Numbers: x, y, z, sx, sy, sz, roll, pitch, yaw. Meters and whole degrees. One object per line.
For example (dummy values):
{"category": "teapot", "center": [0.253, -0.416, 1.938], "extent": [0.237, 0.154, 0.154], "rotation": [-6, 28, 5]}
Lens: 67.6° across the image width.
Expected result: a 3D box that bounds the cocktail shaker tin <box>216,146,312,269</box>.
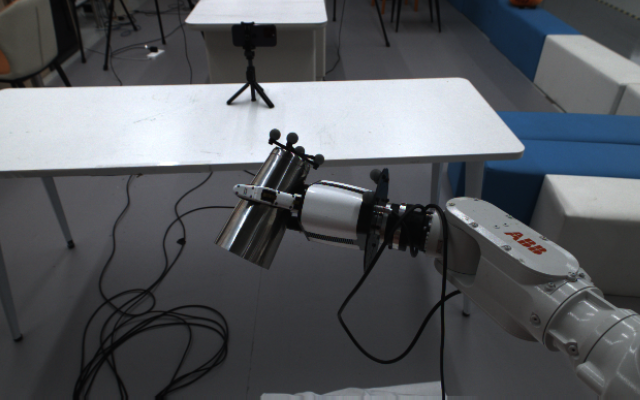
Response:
{"category": "cocktail shaker tin", "center": [-0.080, 0.007, 0.739], "extent": [0.093, 0.093, 0.170], "rotation": [21, 81, 25]}
